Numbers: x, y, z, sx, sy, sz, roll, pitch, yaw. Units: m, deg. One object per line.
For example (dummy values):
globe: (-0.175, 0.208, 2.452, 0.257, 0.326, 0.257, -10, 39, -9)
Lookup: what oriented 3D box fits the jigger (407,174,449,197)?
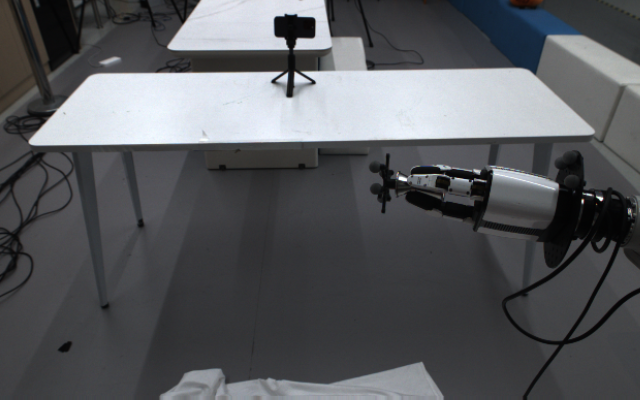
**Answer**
jigger: (0.153, -0.026, 0.703, 0.071, 0.043, 0.043, 3, 34, 18)
